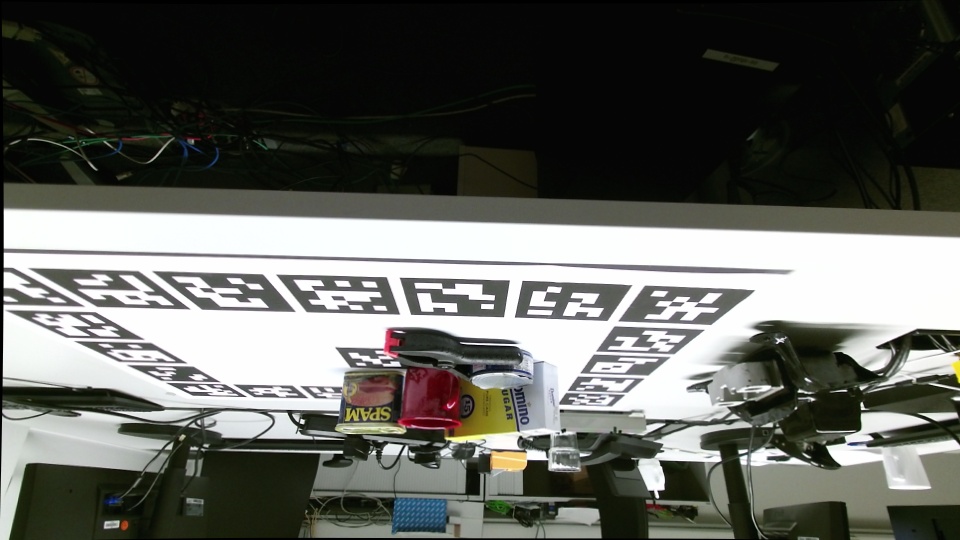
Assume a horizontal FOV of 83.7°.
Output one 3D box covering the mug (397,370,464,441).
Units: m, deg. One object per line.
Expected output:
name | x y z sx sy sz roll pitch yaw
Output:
mug | -0.062 0.189 0.760 0.094 0.081 0.117 15 148 -21

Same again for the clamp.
clamp | -0.042 0.102 0.662 0.166 0.036 0.122 24 149 -28

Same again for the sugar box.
sugar box | 0.030 0.196 0.774 0.177 0.092 0.045 -17 148 34

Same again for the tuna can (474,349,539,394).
tuna can | 0.035 0.135 0.708 0.086 0.033 0.086 1 150 1

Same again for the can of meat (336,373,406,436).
can of meat | -0.163 0.203 0.809 0.102 0.083 0.058 -1 153 9
